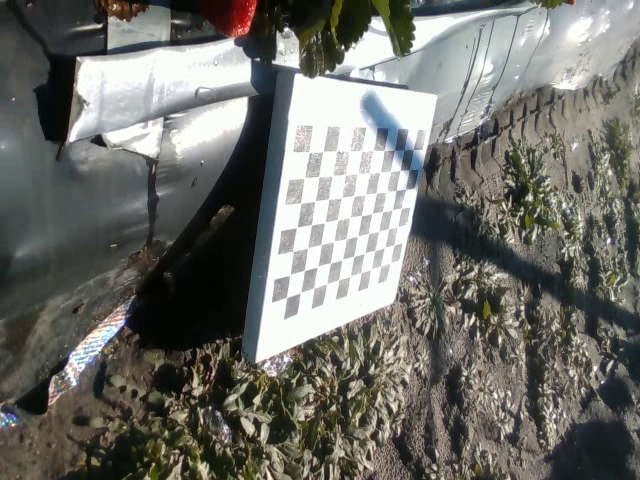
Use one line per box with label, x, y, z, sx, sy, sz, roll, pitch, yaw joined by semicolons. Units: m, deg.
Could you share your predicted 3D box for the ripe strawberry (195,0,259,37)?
ripe strawberry;-0.064;-0.174;0.475;0.057;0.065;0.062;-24;-30;12
